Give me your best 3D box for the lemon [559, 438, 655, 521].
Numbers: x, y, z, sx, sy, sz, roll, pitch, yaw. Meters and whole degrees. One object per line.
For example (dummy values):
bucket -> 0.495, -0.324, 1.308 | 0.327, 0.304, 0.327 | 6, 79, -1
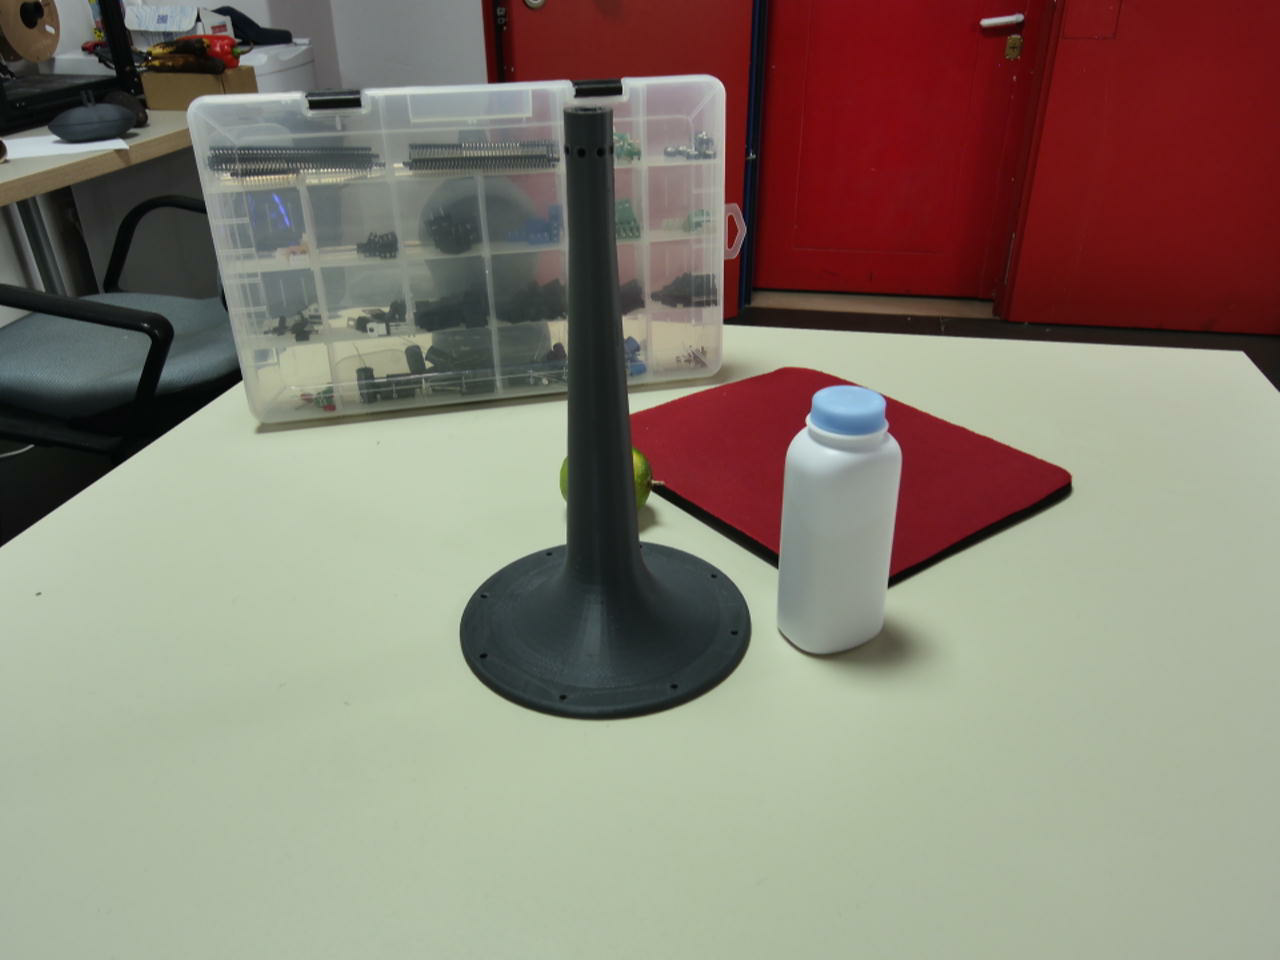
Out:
lemon -> -0.021, 0.000, 0.612 | 0.054, 0.050, 0.055 | -14, 29, -25
